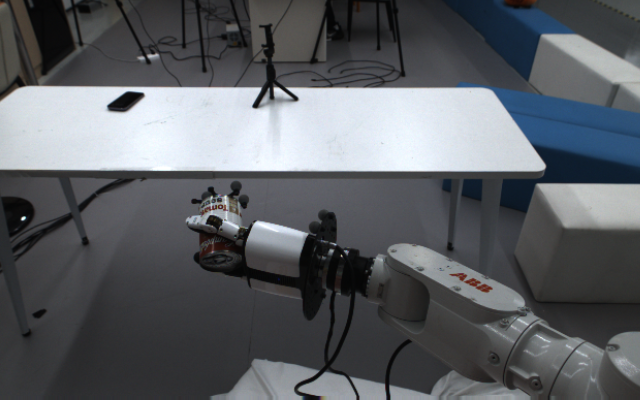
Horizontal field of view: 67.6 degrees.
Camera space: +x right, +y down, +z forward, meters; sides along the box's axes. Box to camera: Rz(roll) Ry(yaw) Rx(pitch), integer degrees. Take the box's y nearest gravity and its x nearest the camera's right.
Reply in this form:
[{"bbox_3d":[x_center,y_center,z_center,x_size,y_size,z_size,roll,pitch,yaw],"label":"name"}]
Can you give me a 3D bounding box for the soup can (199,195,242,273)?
[{"bbox_3d":[-0.151,0.053,0.744,0.067,0.067,0.101,-5,56,-9],"label":"soup can"}]
